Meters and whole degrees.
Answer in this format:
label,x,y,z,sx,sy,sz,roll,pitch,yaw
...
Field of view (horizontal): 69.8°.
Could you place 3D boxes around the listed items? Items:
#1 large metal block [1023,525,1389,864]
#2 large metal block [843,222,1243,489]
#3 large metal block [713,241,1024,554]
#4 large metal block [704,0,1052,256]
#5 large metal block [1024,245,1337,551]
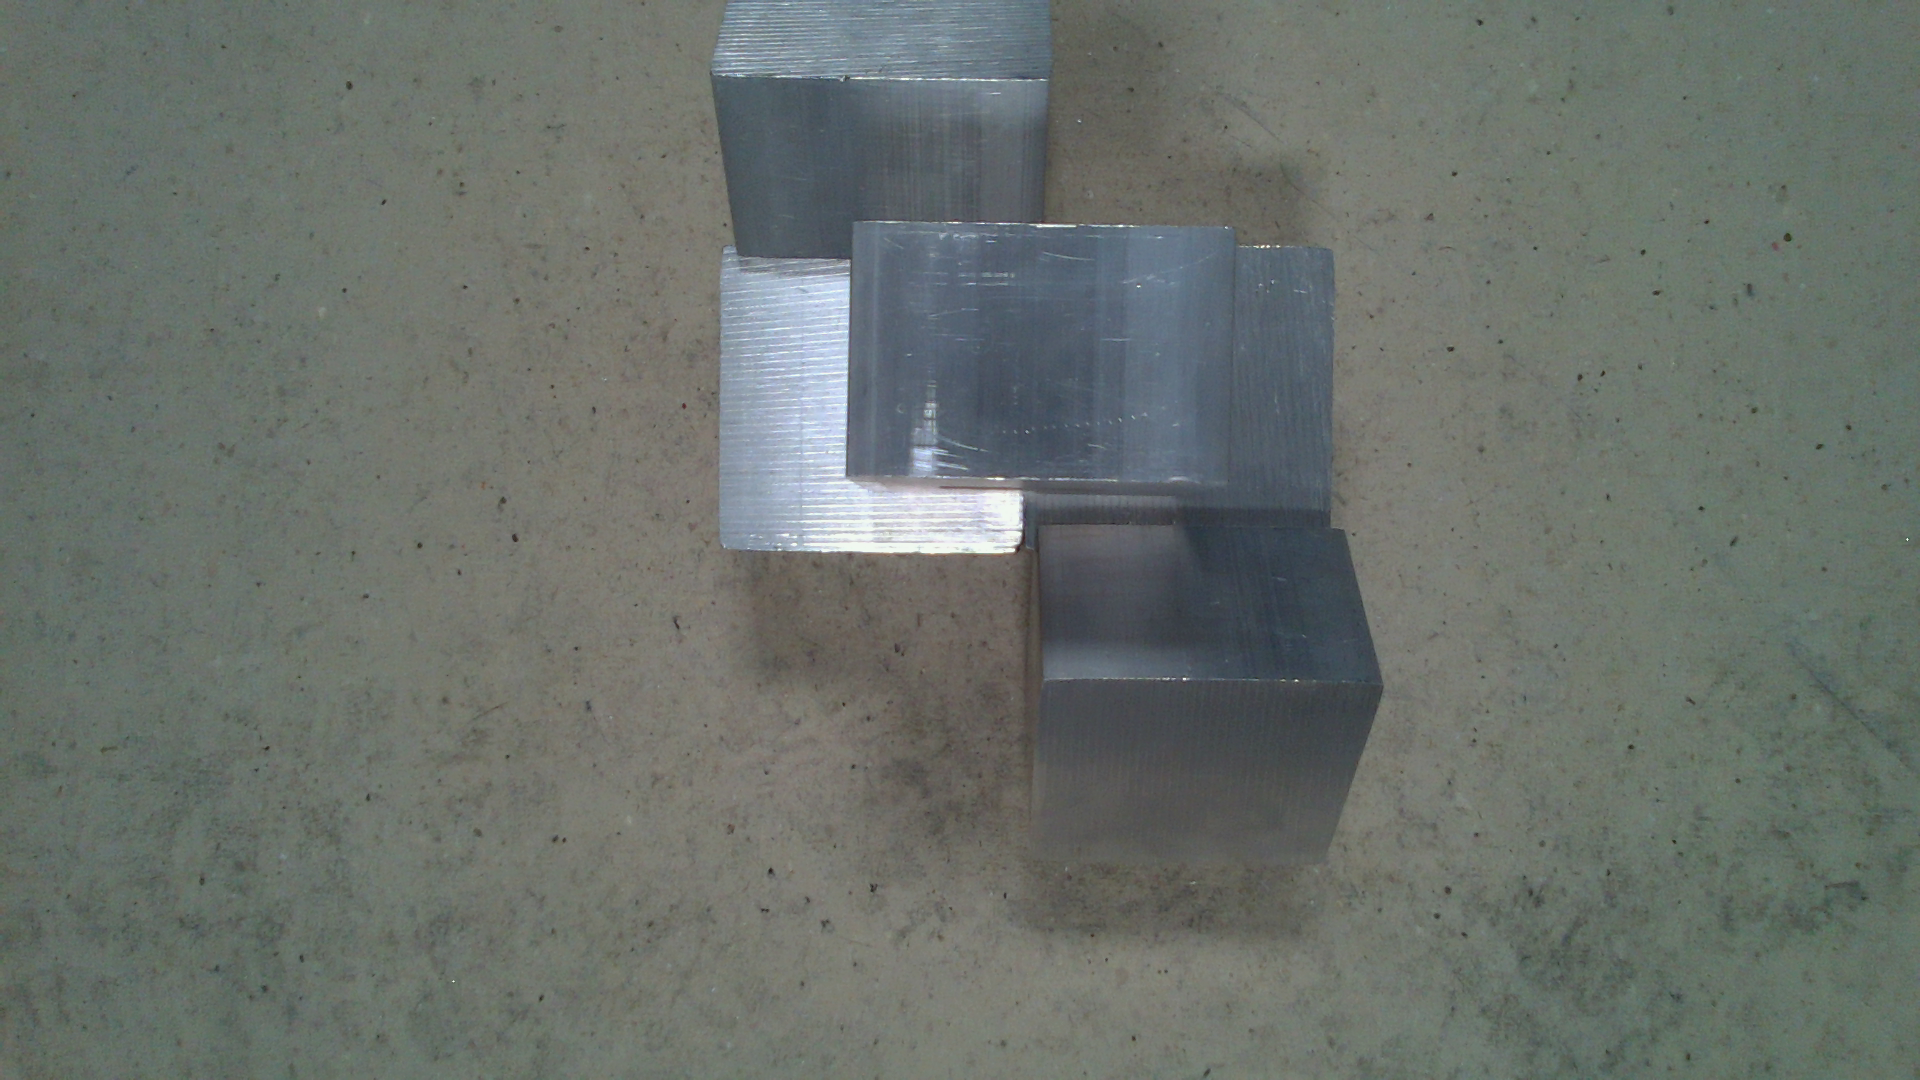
label,x,y,z,sx,sy,sz,roll,pitch,yaw
large metal block,0.059,0.042,0.362,0.080,0.080,0.050,0,46,0
large metal block,0.017,-0.039,0.318,0.080,0.080,0.050,1,90,0
large metal block,-0.023,-0.037,0.381,0.080,0.050,0.080,1,90,0
large metal block,-0.018,-0.119,0.362,0.080,0.050,0.080,0,46,0
large metal block,0.057,-0.037,0.381,0.080,0.050,0.080,1,90,0
